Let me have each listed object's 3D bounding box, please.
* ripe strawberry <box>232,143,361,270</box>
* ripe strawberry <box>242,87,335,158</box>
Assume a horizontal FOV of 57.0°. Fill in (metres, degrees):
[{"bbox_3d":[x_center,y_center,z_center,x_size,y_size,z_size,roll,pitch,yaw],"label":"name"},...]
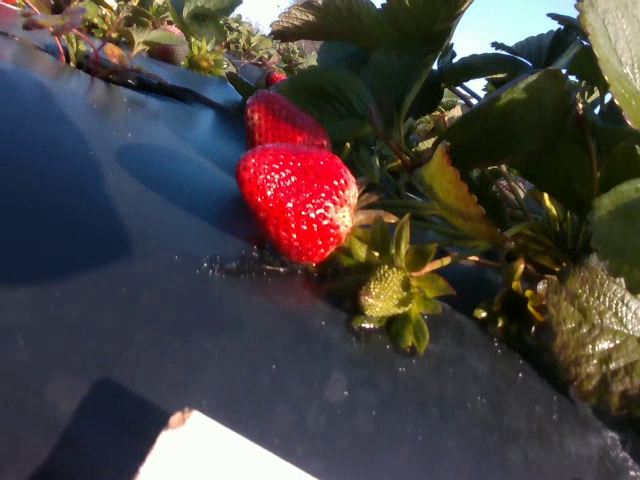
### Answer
[{"bbox_3d":[-0.008,-0.017,0.194,0.038,0.043,0.053,-38,-35,20],"label":"ripe strawberry"},{"bbox_3d":[-0.016,-0.042,0.258,0.048,0.054,0.039,-36,1,-35],"label":"ripe strawberry"}]
